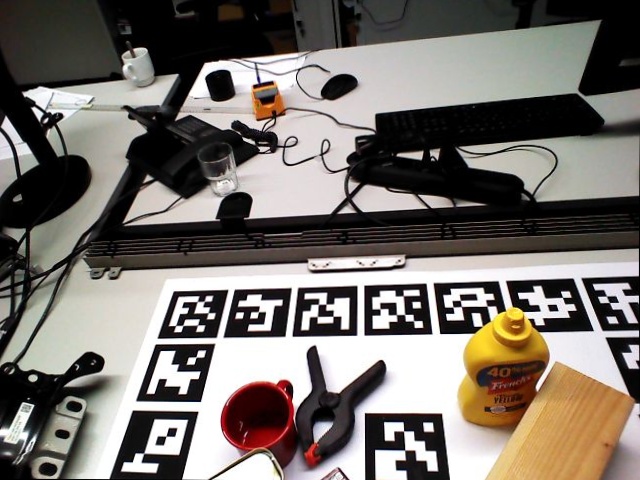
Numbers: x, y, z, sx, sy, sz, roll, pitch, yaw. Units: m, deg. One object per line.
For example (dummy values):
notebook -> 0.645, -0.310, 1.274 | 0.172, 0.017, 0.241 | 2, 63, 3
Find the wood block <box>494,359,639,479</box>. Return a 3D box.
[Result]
wood block -> 0.264, 0.244, 0.563 | 0.090, 0.091, 0.205 | 26, 52, 35

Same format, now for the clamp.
clamp -> 0.021, 0.208, 0.694 | 0.122, 0.037, 0.164 | 12, 50, 21

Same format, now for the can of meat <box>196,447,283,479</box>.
can of meat -> -0.086, 0.292, 0.581 | 0.101, 0.084, 0.058 | -25, 46, -14

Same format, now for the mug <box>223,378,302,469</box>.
mug -> -0.063, 0.237, 0.675 | 0.094, 0.082, 0.116 | 14, 50, 24

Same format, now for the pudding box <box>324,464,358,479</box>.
pudding box -> 0.014, 0.321, 0.569 | 0.113, 0.039, 0.090 | -31, 47, -21

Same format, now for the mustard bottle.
mustard bottle -> 0.222, 0.135, 0.605 | 0.096, 0.192, 0.058 | -7, 44, 5
